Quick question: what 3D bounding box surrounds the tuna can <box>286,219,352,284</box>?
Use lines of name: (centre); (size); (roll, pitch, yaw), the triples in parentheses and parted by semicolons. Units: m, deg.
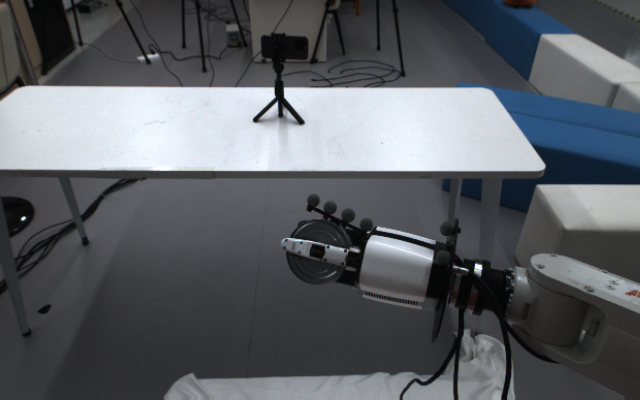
tuna can: (0.003, 0.069, 0.642); (0.085, 0.085, 0.034); (13, -6, 16)
